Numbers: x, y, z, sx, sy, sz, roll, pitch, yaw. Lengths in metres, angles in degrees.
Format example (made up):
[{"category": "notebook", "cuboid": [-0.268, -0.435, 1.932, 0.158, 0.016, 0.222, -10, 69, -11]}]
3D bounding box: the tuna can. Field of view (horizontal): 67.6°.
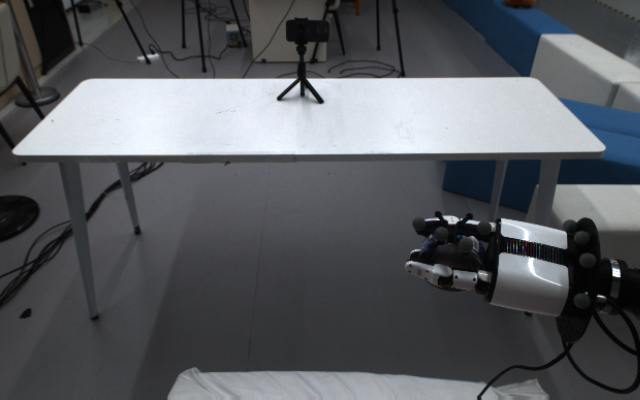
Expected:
[{"category": "tuna can", "cuboid": [0.178, 0.079, 0.644, 0.085, 0.085, 0.034, 12, 39, 14]}]
